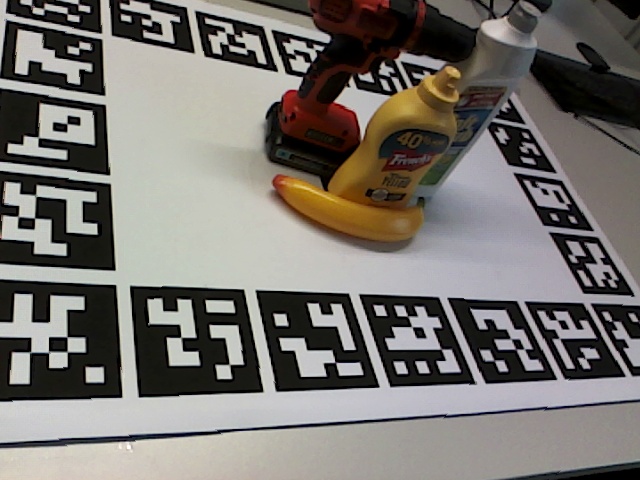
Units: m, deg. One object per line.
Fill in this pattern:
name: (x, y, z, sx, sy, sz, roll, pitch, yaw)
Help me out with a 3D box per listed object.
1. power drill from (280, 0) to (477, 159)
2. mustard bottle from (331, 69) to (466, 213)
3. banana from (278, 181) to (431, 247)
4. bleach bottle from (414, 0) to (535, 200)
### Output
power drill: (0.050, -0.175, 0.669, 0.183, 0.187, 0.057, 16, 45, -20)
mustard bottle: (0.094, -0.103, 0.660, 0.095, 0.192, 0.059, 6, 50, -27)
banana: (0.047, -0.029, 0.693, 0.196, 0.039, 0.074, 7, 50, -22)
bleach bottle: (0.153, -0.158, 0.709, 0.102, 0.251, 0.068, 7, 44, -25)
